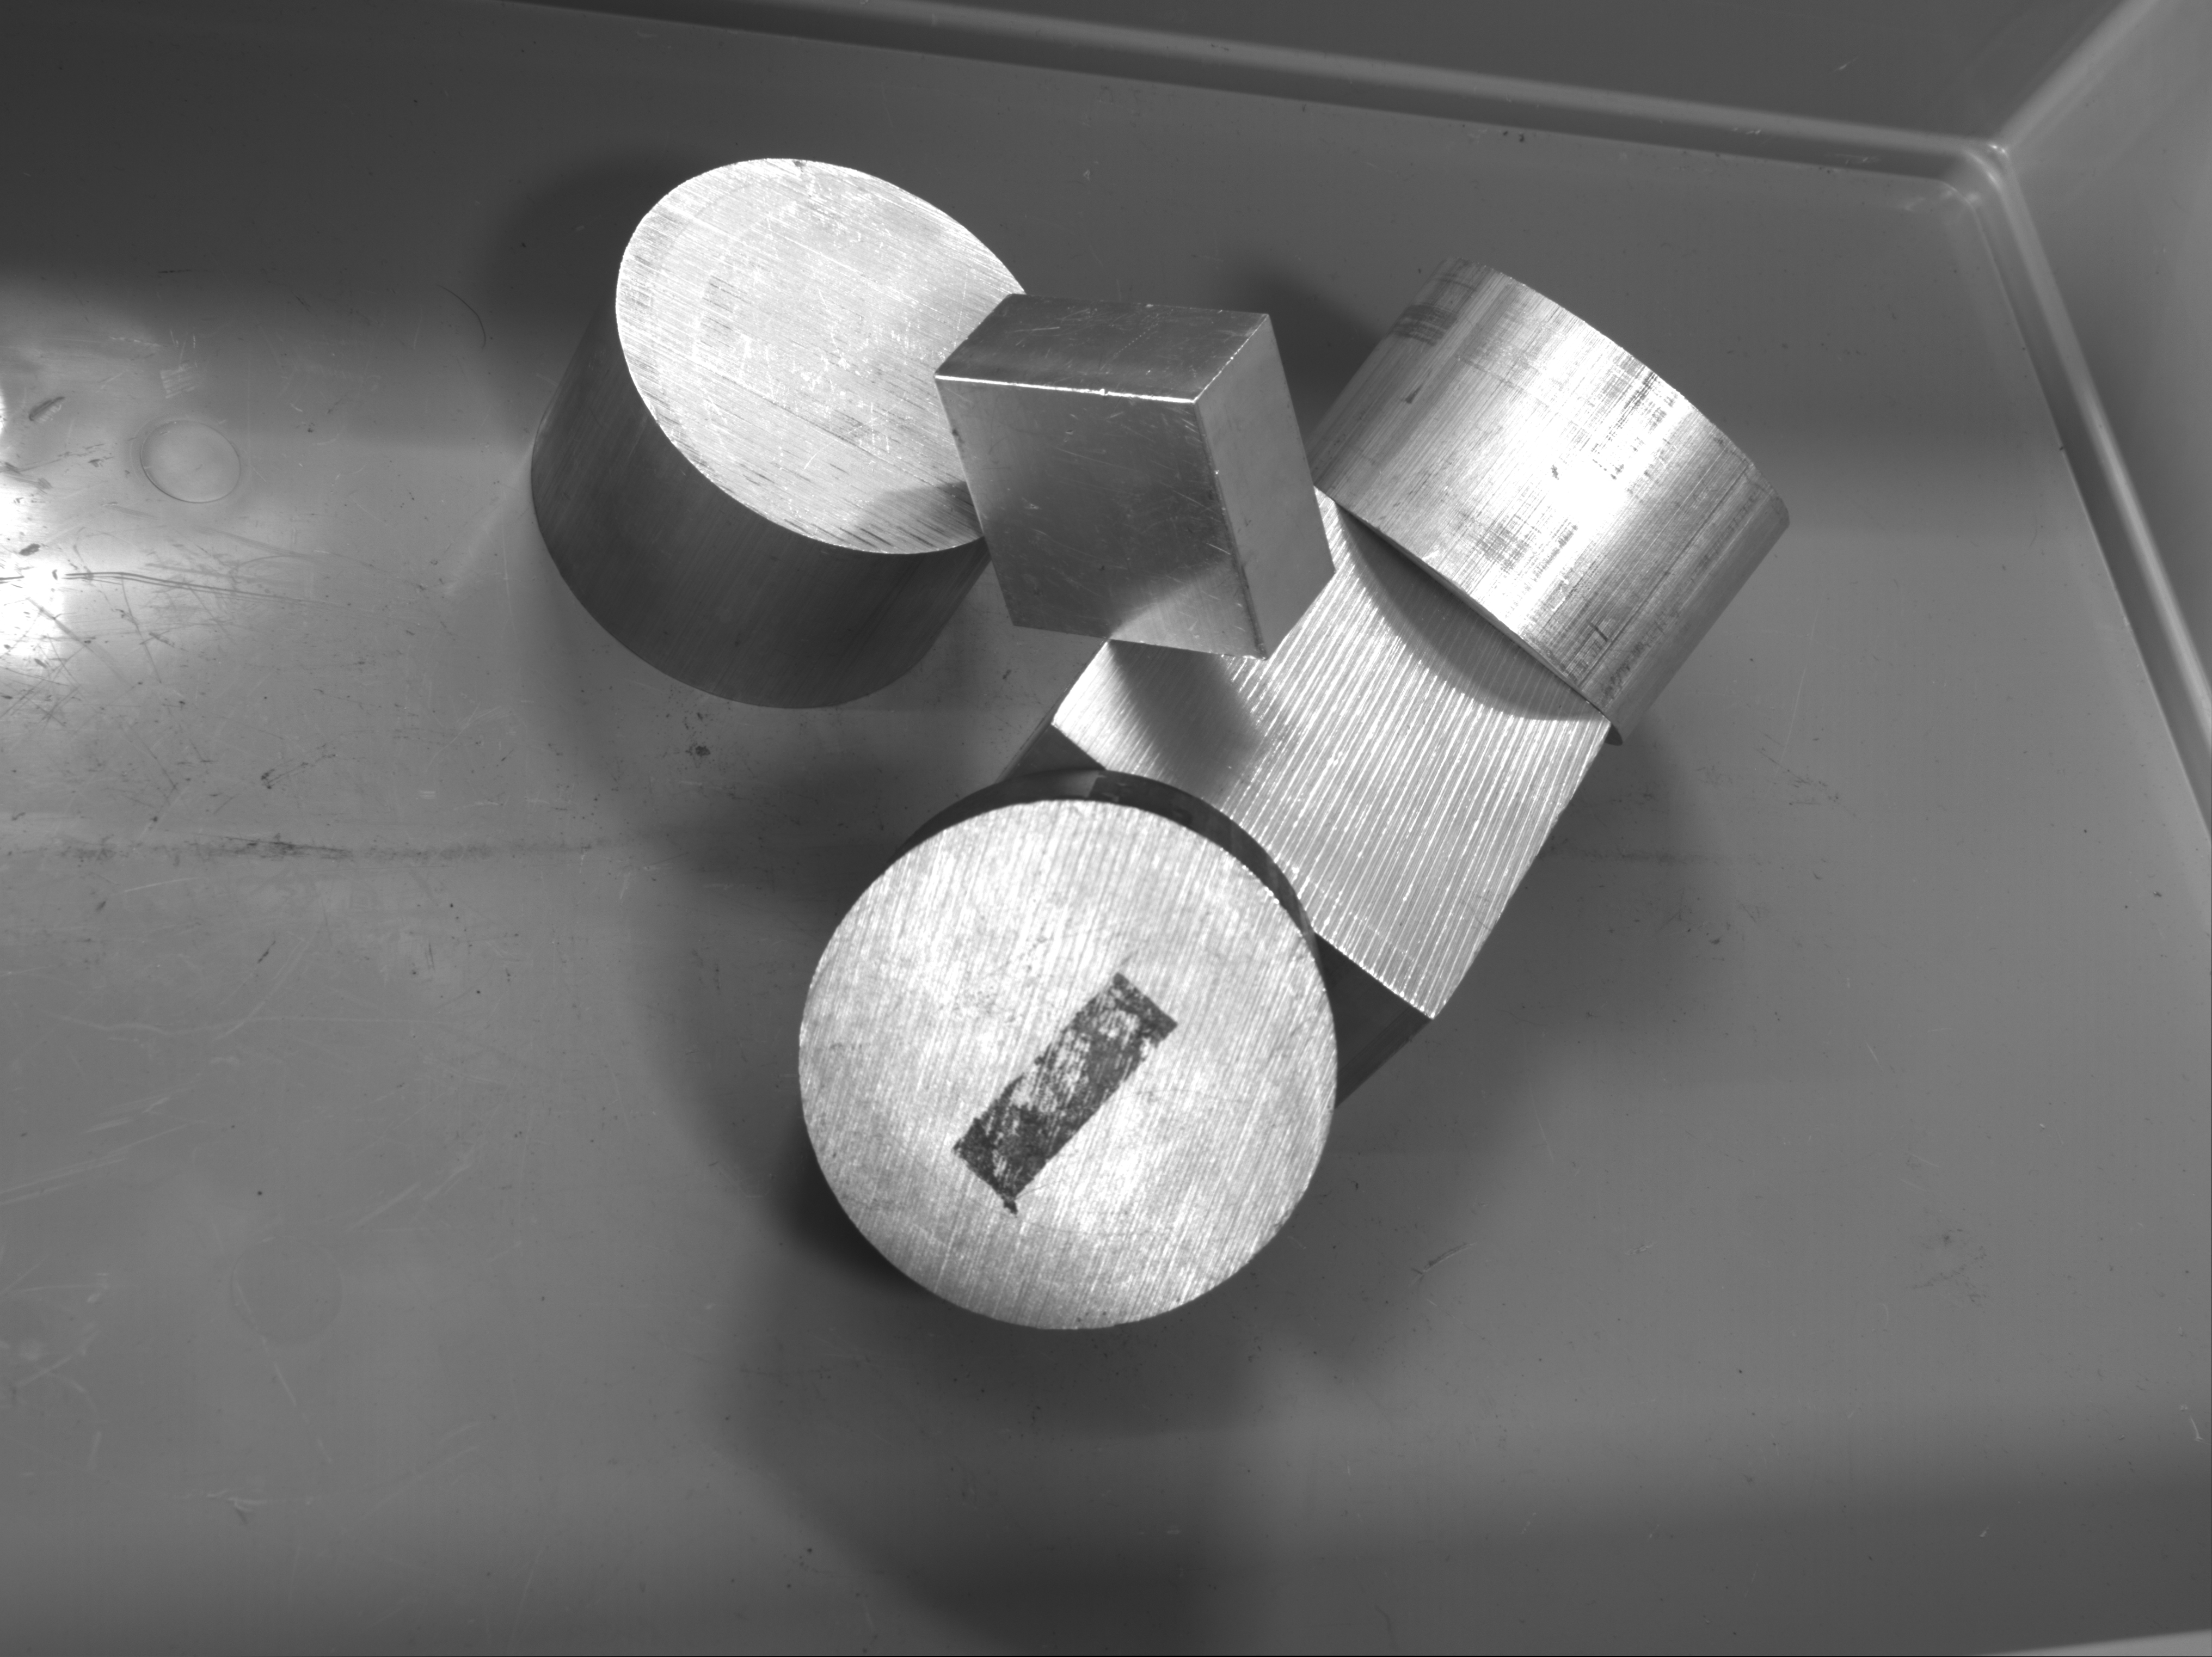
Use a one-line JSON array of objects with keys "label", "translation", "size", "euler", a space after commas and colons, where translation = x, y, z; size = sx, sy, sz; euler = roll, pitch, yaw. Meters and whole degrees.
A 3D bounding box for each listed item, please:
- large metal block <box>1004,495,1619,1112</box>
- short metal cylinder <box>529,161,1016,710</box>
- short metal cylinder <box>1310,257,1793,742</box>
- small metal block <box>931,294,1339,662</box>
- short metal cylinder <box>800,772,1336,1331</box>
[{"label": "large metal block", "translation": [0.030, -0.006, 0.639], "size": [0.080, 0.050, 0.080], "euler": [38, 51, -2]}, {"label": "short metal cylinder", "translation": [-0.054, -0.068, 0.635], "size": [0.080, 0.050, 0.080], "euler": [13, 56, -21]}, {"label": "short metal cylinder", "translation": [0.078, -0.059, 0.672], "size": [0.080, 0.080, 0.050], "euler": [37, 90, -3]}, {"label": "small metal block", "translation": [0.005, -0.057, 0.596], "size": [0.050, 0.050, 0.025], "euler": [9, 44, 32]}, {"label": "short metal cylinder", "translation": [-0.005, 0.033, 0.572], "size": [0.080, 0.050, 0.080], "euler": [0, 97, 2]}]
